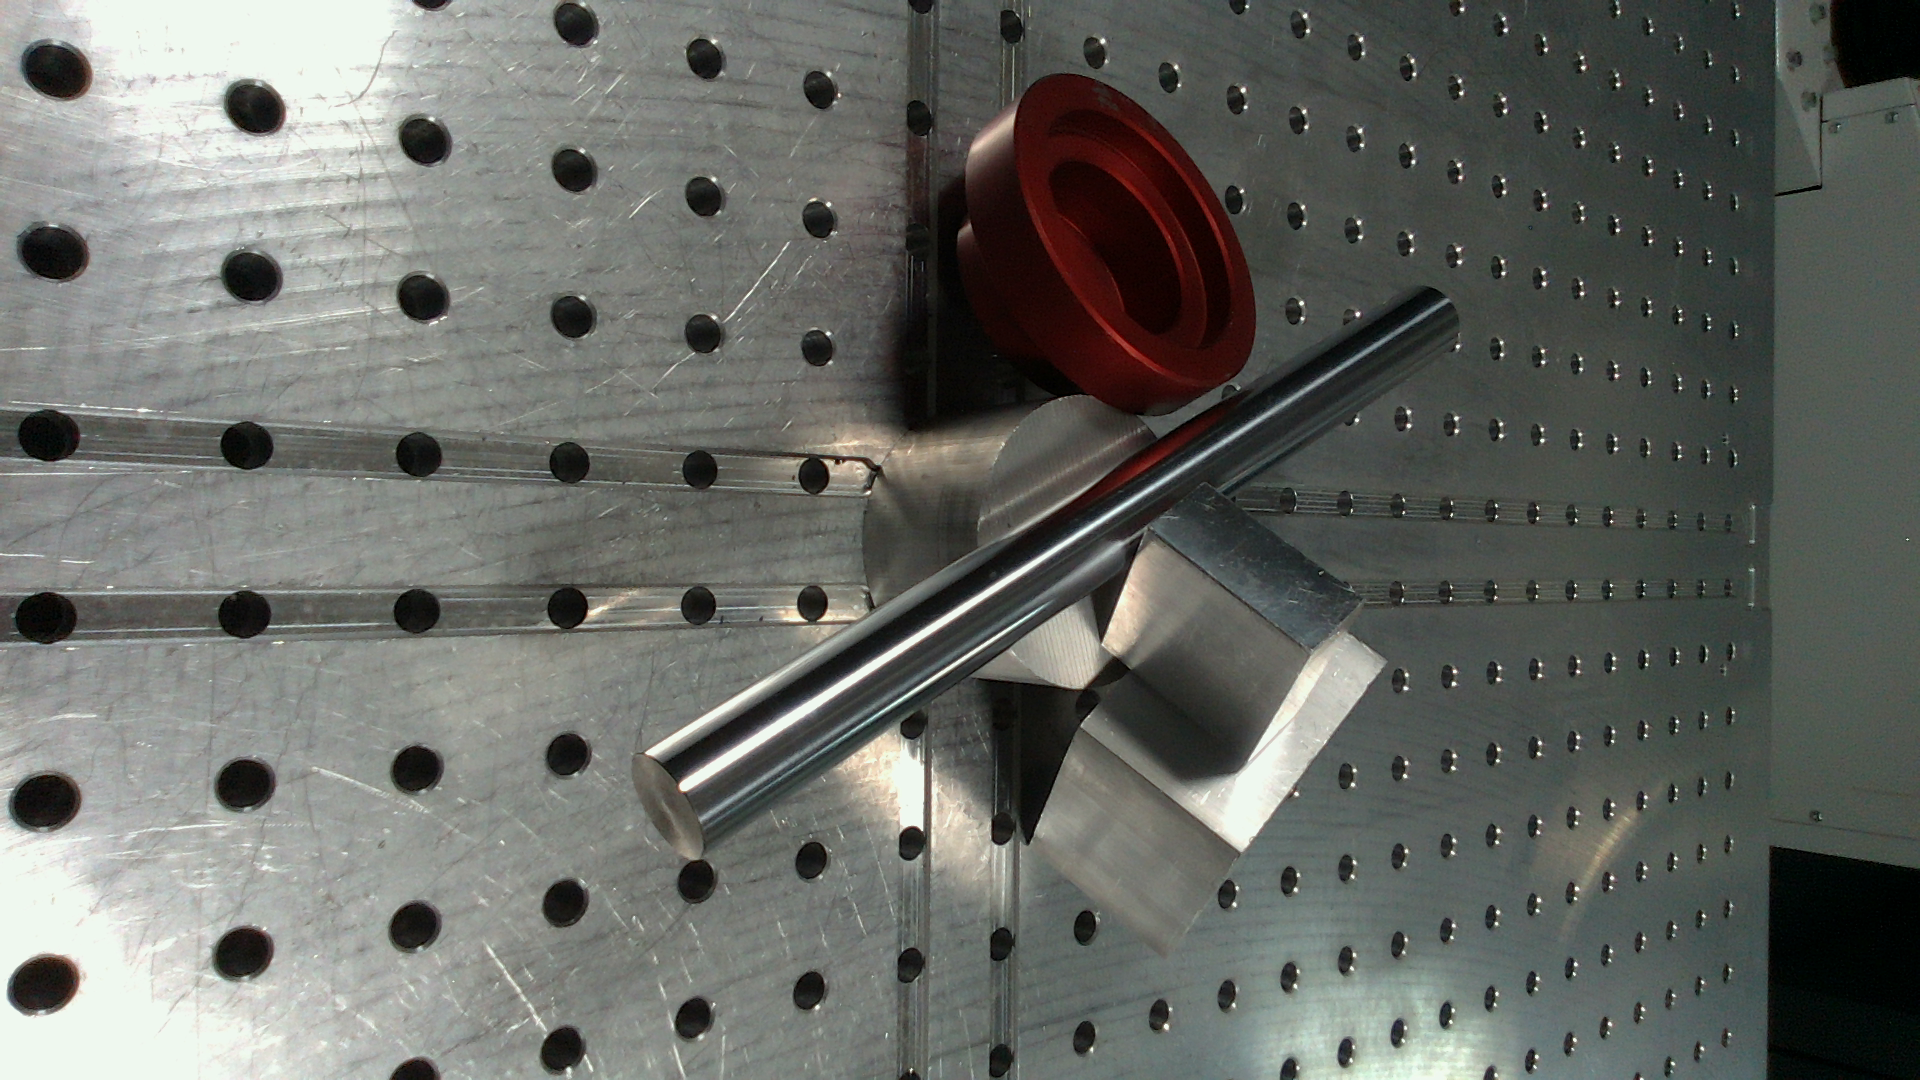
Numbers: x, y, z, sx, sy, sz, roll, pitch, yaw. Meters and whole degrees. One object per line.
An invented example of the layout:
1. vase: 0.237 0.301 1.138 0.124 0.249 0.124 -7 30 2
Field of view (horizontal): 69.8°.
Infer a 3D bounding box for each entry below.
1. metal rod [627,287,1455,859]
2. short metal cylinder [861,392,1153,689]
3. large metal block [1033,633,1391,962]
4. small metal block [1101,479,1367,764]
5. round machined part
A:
1. metal rod: 0.046 -0.009 0.364 0.301 0.025 0.025 -31 109 -36
2. short metal cylinder: 0.019 0.000 0.391 0.080 0.050 0.080 0 90 -40
3. large metal block: 0.072 0.065 0.406 0.080 0.050 0.080 -42 160 -31
4. small metal block: 0.068 0.021 0.354 0.025 0.050 0.050 -36 154 -34
5. round machined part: 0.038 -0.080 0.397 0.098 0.042 0.098 24 52 -35
